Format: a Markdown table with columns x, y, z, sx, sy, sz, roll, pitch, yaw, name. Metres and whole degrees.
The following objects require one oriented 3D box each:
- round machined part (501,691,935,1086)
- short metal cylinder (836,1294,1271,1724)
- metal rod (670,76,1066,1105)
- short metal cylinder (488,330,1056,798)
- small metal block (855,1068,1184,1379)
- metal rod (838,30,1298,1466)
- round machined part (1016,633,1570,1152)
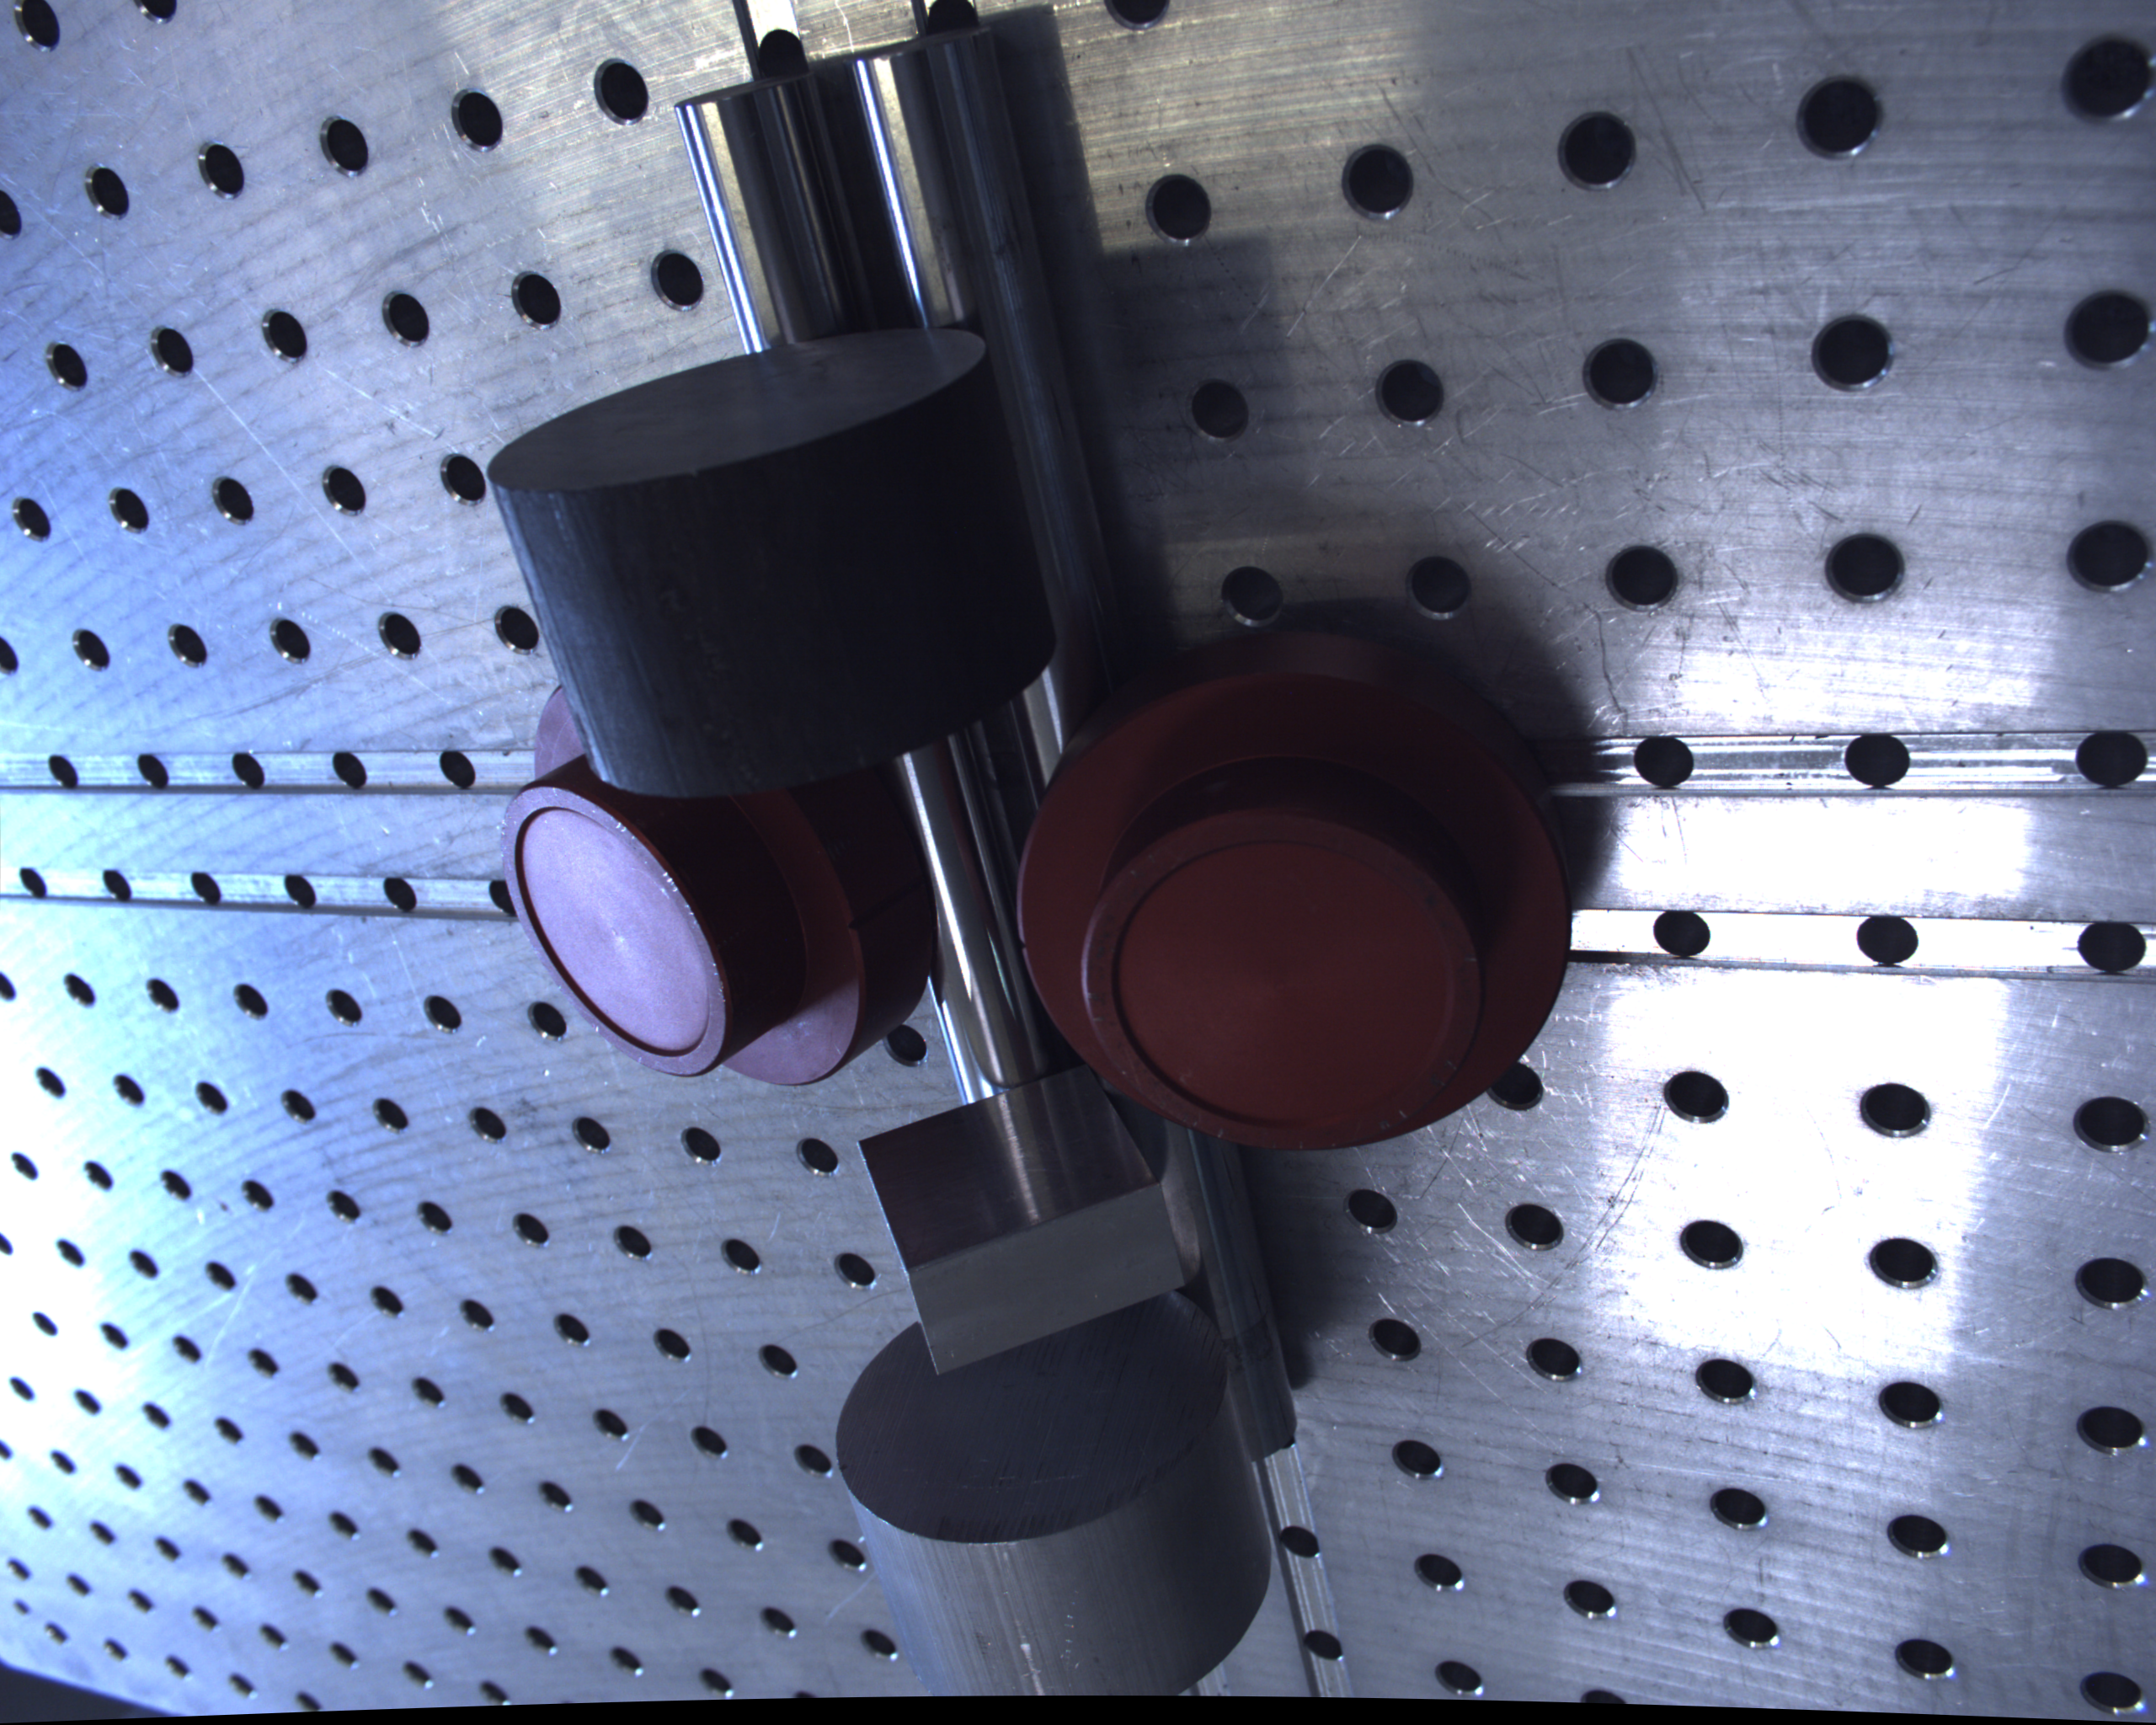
| x | y | z | sx | sy | sz | roll | pitch | yaw | name |
| --- | --- | --- | --- | --- | --- | --- | --- | --- | --- |
| -0.080 | 0.005 | 0.430 | 0.098 | 0.042 | 0.097 | 24 | 132 | 30 | round machined part |
| -0.004 | 0.129 | 0.430 | 0.080 | 0.080 | 0.050 | 1 | 119 | 28 | short metal cylinder |
| -0.026 | -0.002 | 0.423 | 0.025 | 0.025 | 0.298 | 1 | 119 | 28 | metal rod |
| -0.048 | -0.051 | 0.341 | 0.080 | 0.080 | 0.050 | 1 | 119 | 28 | short metal cylinder |
| -0.013 | 0.070 | 0.415 | 0.050 | 0.050 | 0.025 | -17 | 116 | -10 | small metal block |
| 0.005 | -0.003 | 0.406 | 0.025 | 0.025 | 0.298 | 1 | 119 | 28 | metal rod |
| 0.037 | 0.012 | 0.371 | 0.098 | 0.042 | 0.097 | 4 | 118 | 9 | round machined part |
